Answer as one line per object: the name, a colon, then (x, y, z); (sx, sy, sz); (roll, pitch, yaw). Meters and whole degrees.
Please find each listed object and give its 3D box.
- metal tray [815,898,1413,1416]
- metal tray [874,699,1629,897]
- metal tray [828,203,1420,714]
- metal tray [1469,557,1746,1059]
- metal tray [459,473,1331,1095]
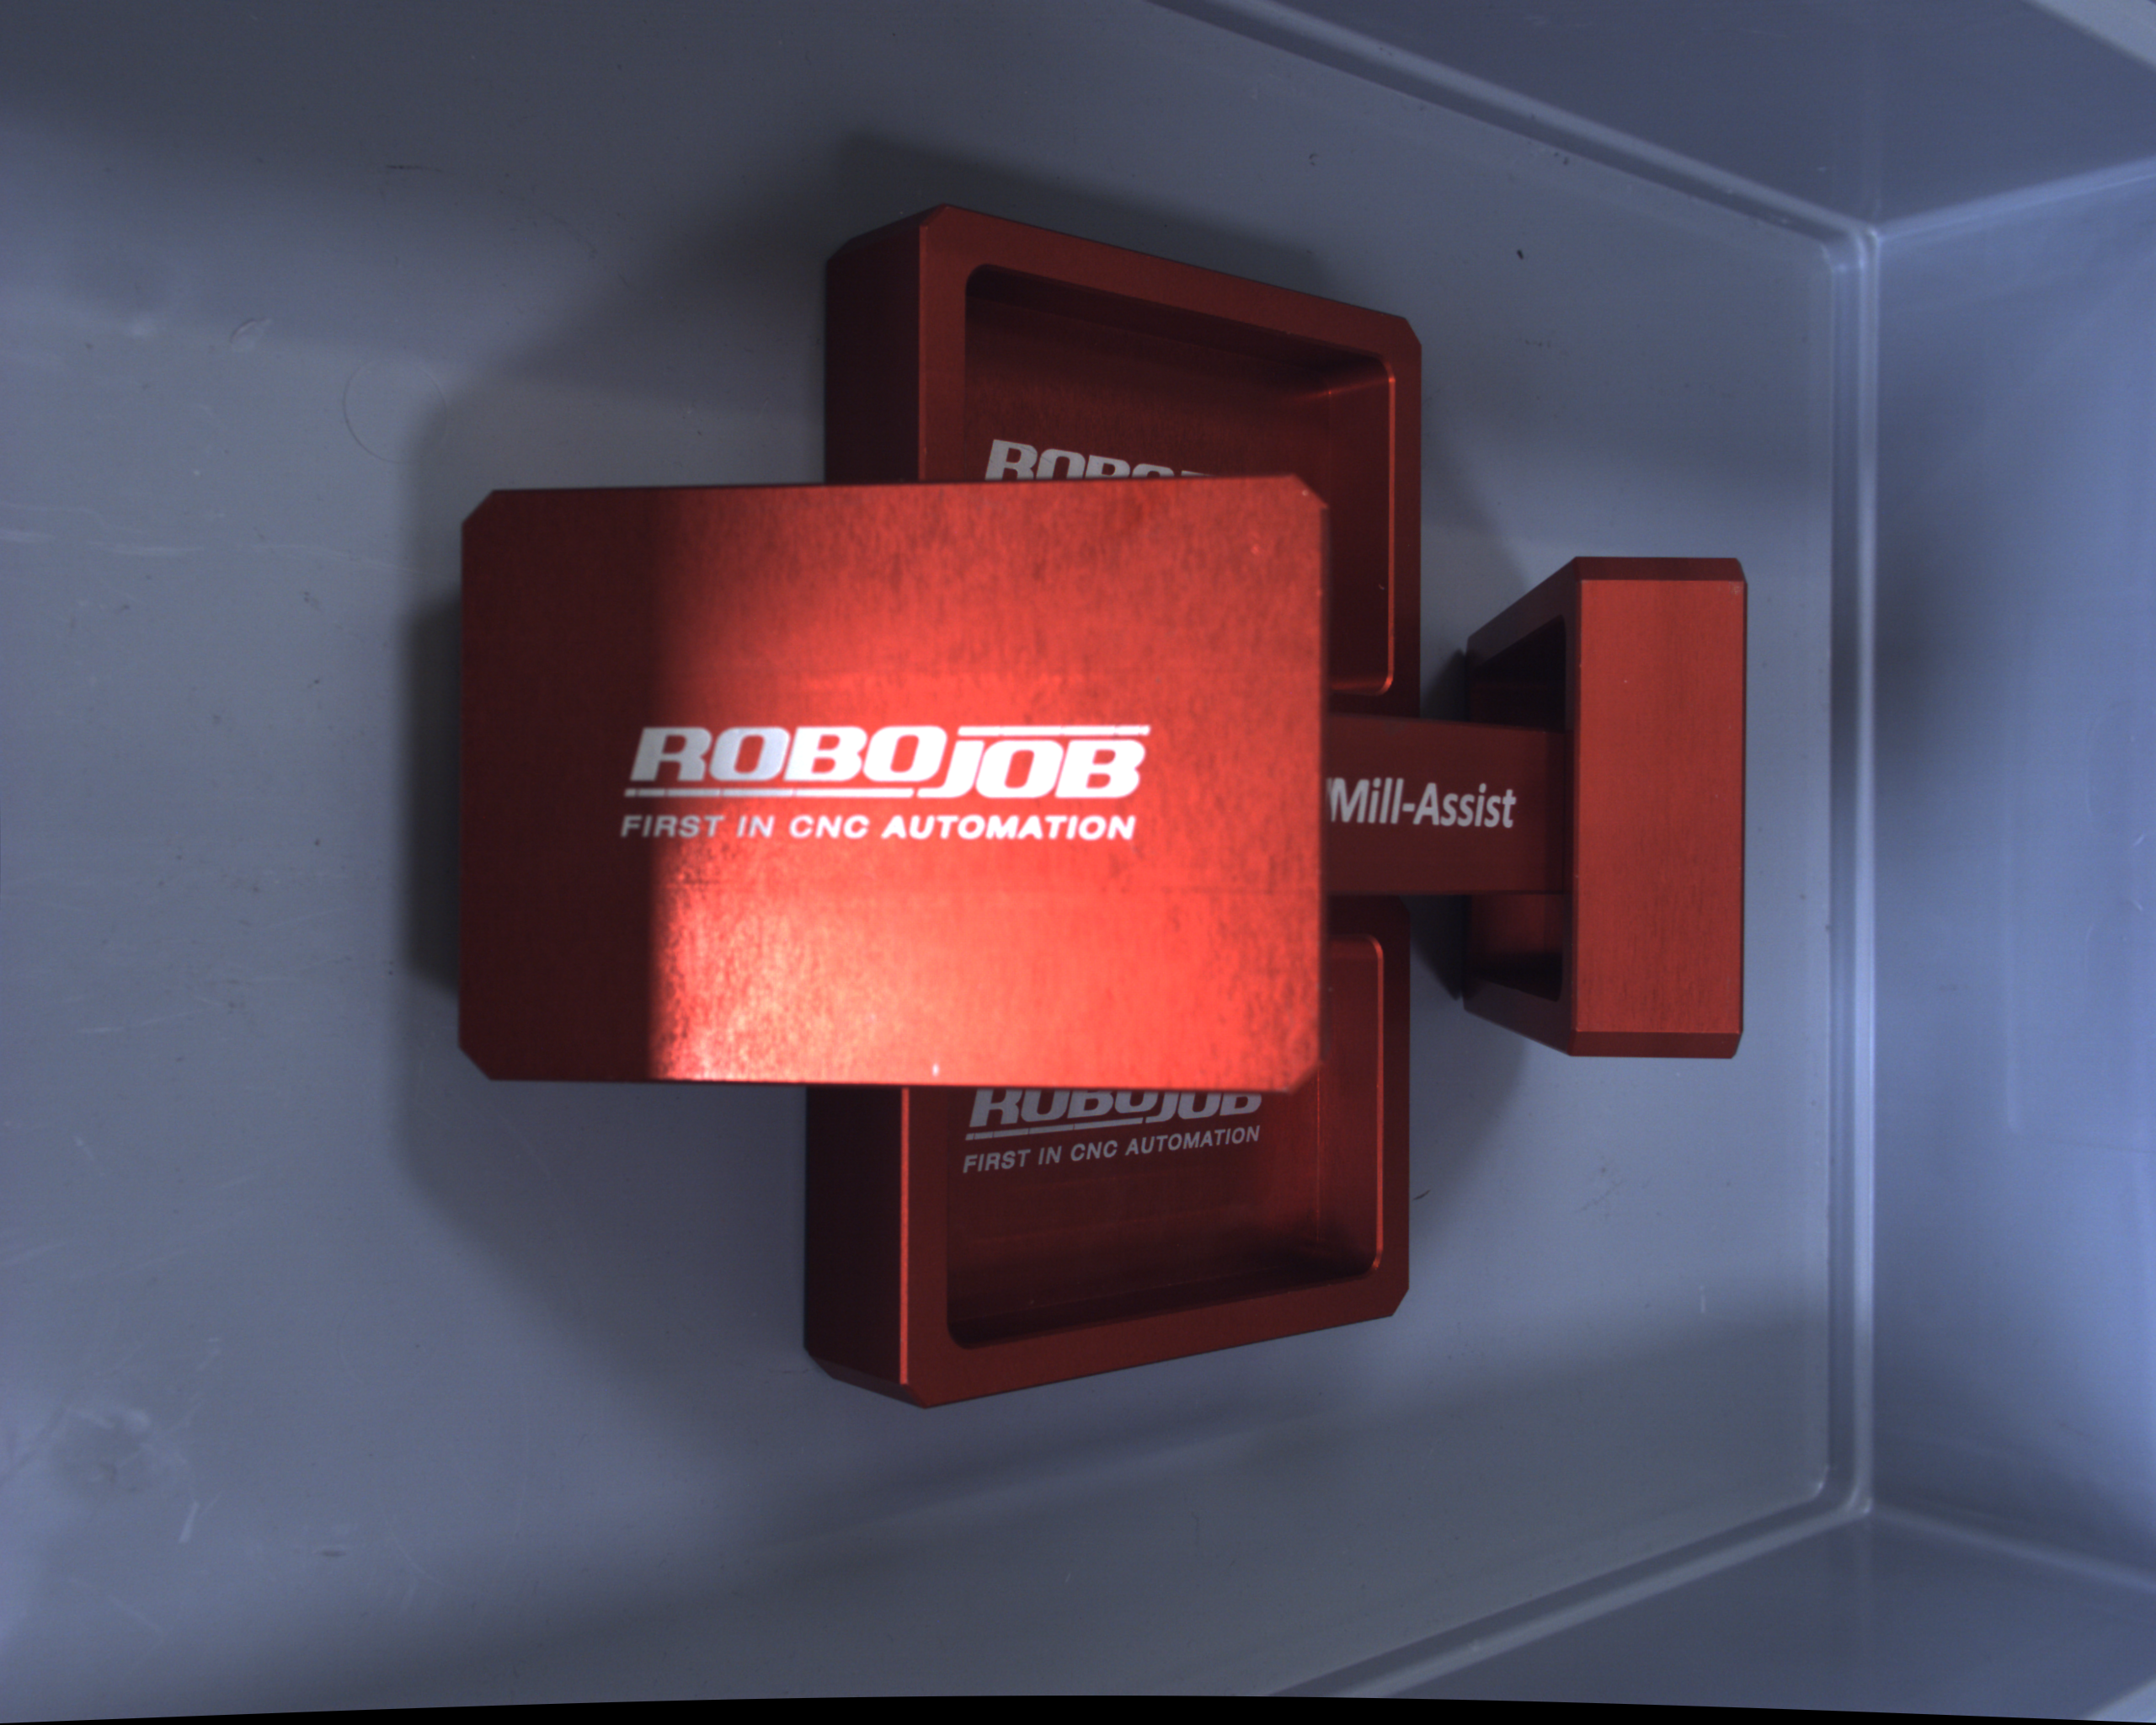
metal tray: (0.012, 0.051, 0.409); (0.131, 0.030, 0.089); (0, 90, -41)
metal tray: (0.029, -0.010, 0.387); (0.131, 0.090, 0.030); (0, 90, -41)
metal tray: (0.013, -0.070, 0.412); (0.131, 0.030, 0.089); (0, 91, -41)
metal tray: (0.105, -0.010, 0.433); (0.030, 0.130, 0.089); (1, 90, 2)
metal tray: (-0.027, -0.012, 0.322); (0.030, 0.131, 0.089); (3, 87, -82)
